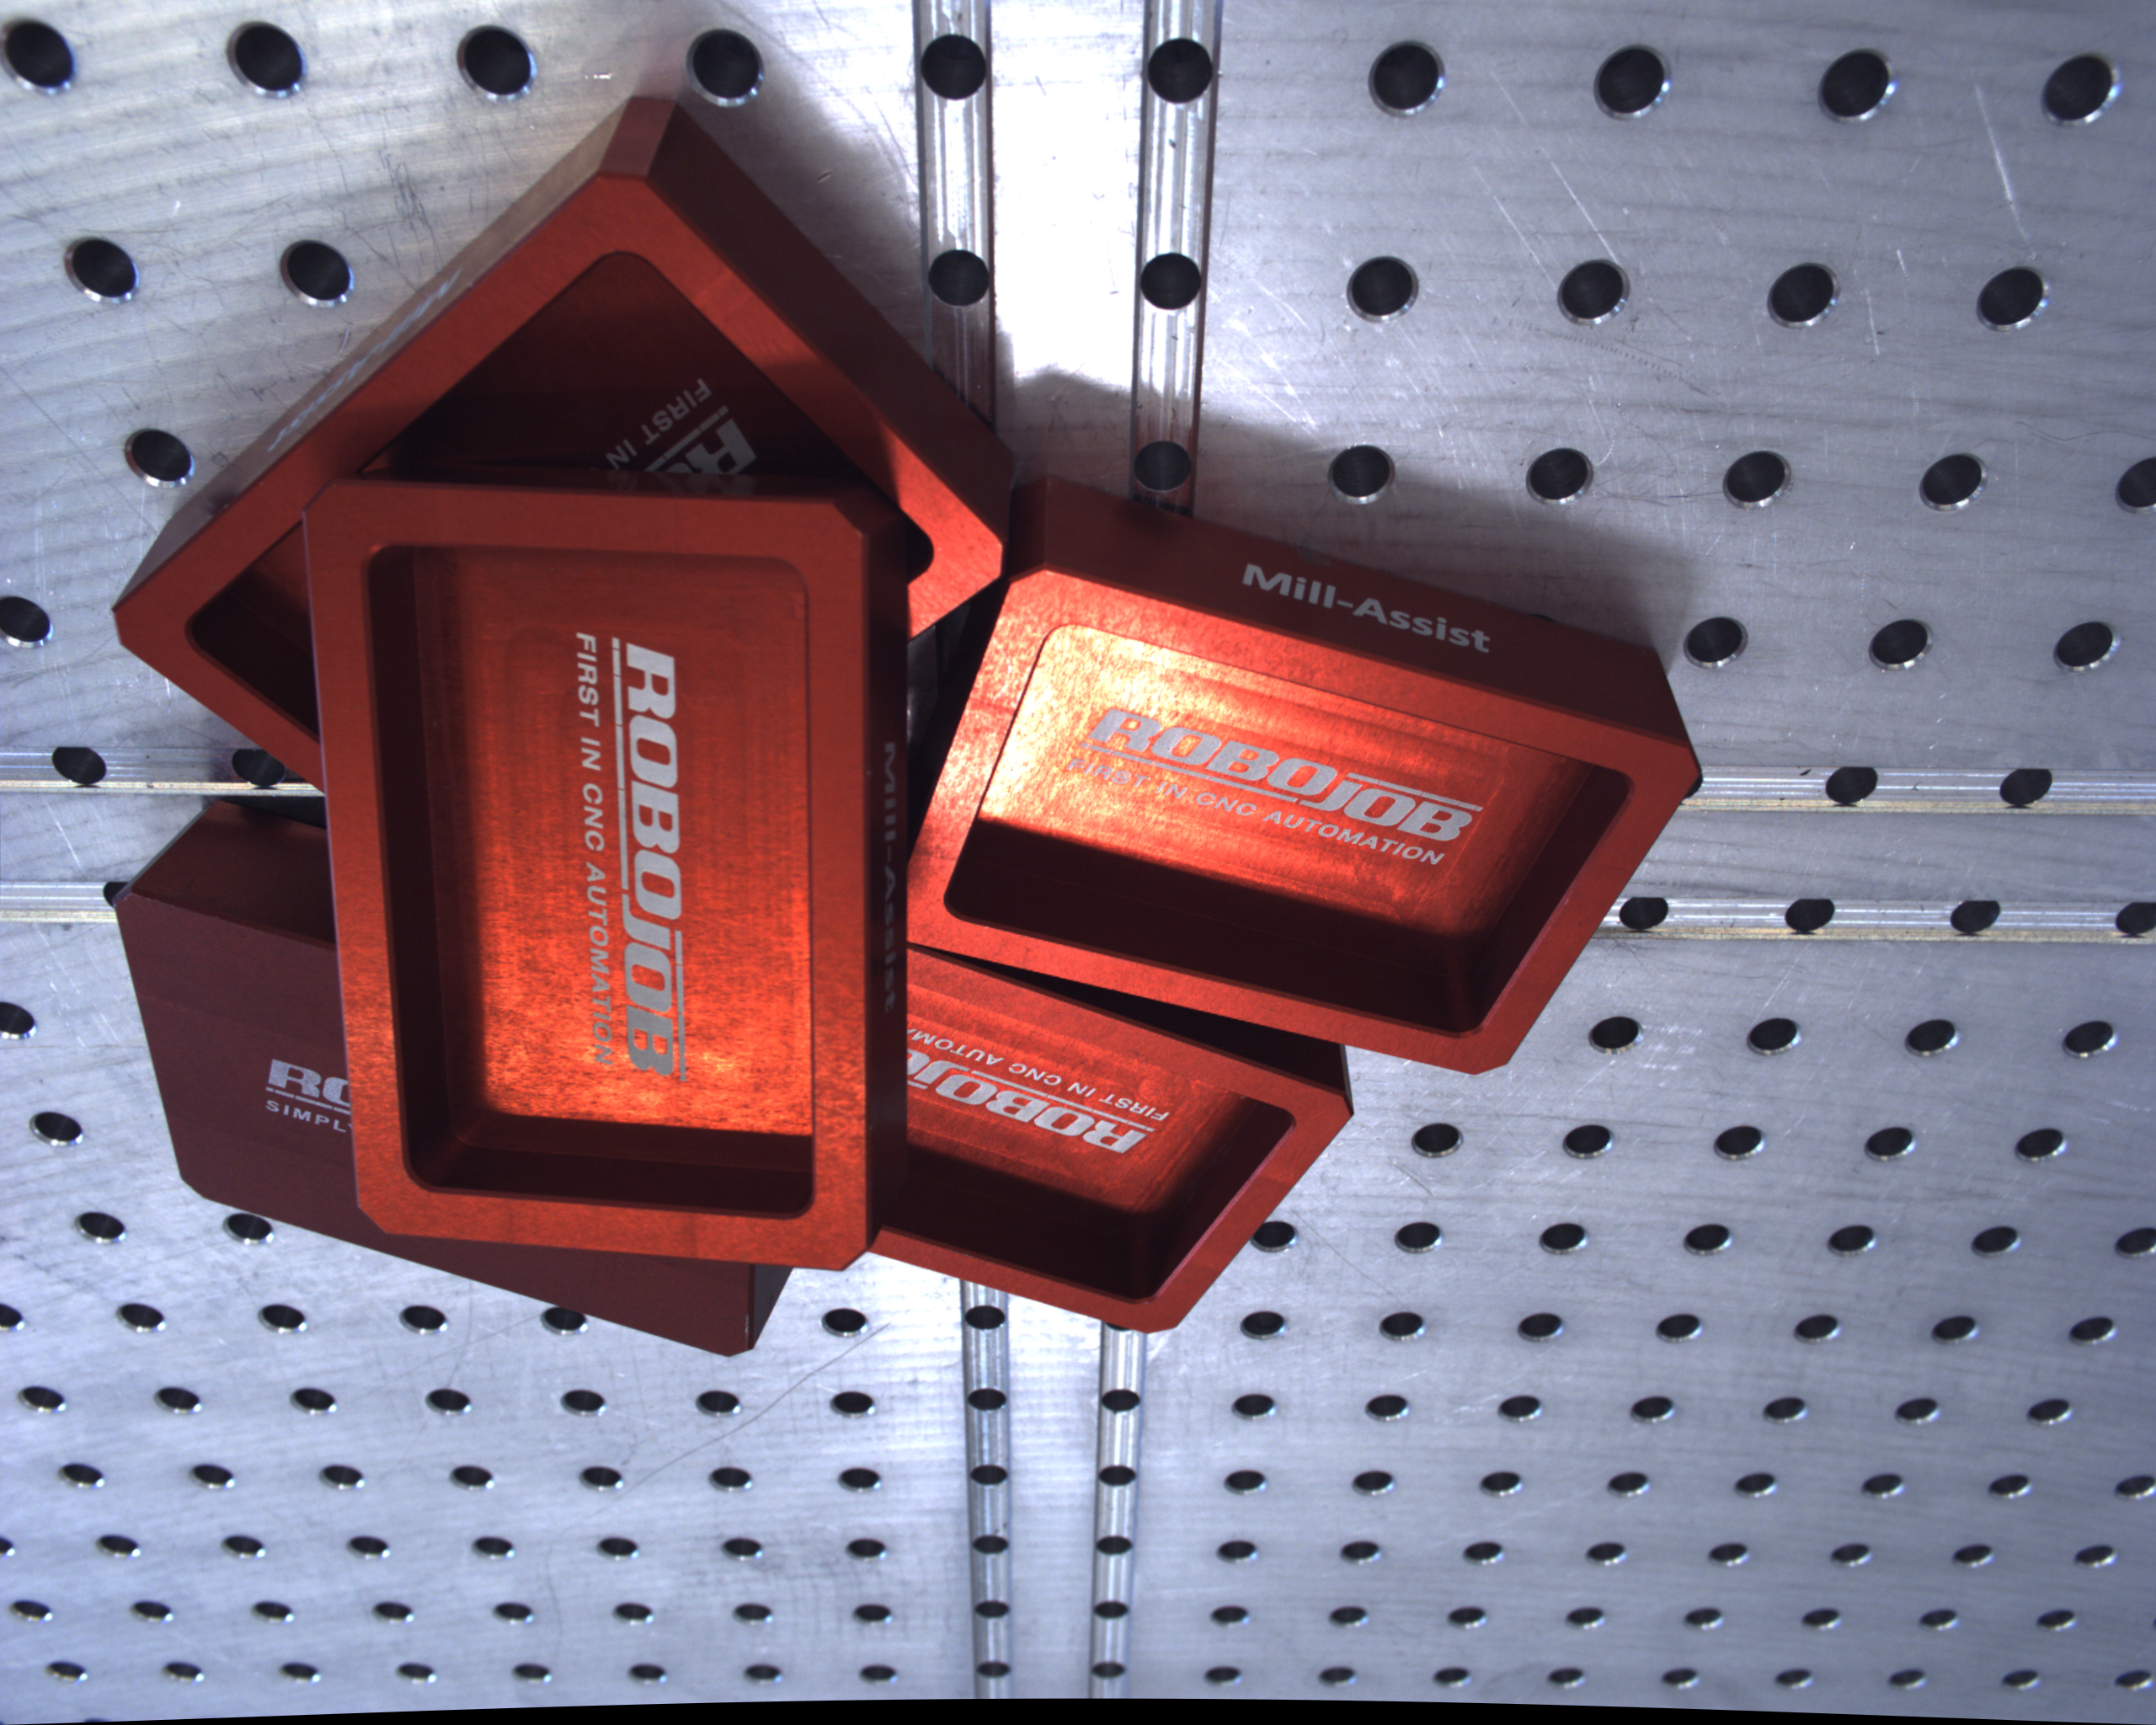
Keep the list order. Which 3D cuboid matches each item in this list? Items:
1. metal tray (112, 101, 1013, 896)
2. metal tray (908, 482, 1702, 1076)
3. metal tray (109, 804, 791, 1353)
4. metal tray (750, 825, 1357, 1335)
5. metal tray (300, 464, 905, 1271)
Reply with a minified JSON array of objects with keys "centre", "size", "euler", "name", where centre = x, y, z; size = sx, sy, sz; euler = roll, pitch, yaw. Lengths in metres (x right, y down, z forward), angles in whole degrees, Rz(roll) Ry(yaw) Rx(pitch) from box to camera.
[{"centre":[-0.087,-0.054,0.360],"size":[0.130,0.030,0.090],"euler":[-32,123,24],"name":"metal tray"},{"centre":[0.038,-0.012,0.397],"size":[0.131,0.030,0.089],"euler":[14,129,-12],"name":"metal tray"},{"centre":[-0.121,0.045,0.423],"size":[0.131,0.030,0.089],"euler":[14,131,6],"name":"metal tray"},{"centre":[-0.018,0.050,0.449],"size":[0.131,0.030,0.089],"euler":[20,128,-16],"name":"metal tray"},{"centre":[-0.077,0.001,0.352],"size":[0.090,0.030,0.129],"euler":[3,106,6],"name":"metal tray"}]
